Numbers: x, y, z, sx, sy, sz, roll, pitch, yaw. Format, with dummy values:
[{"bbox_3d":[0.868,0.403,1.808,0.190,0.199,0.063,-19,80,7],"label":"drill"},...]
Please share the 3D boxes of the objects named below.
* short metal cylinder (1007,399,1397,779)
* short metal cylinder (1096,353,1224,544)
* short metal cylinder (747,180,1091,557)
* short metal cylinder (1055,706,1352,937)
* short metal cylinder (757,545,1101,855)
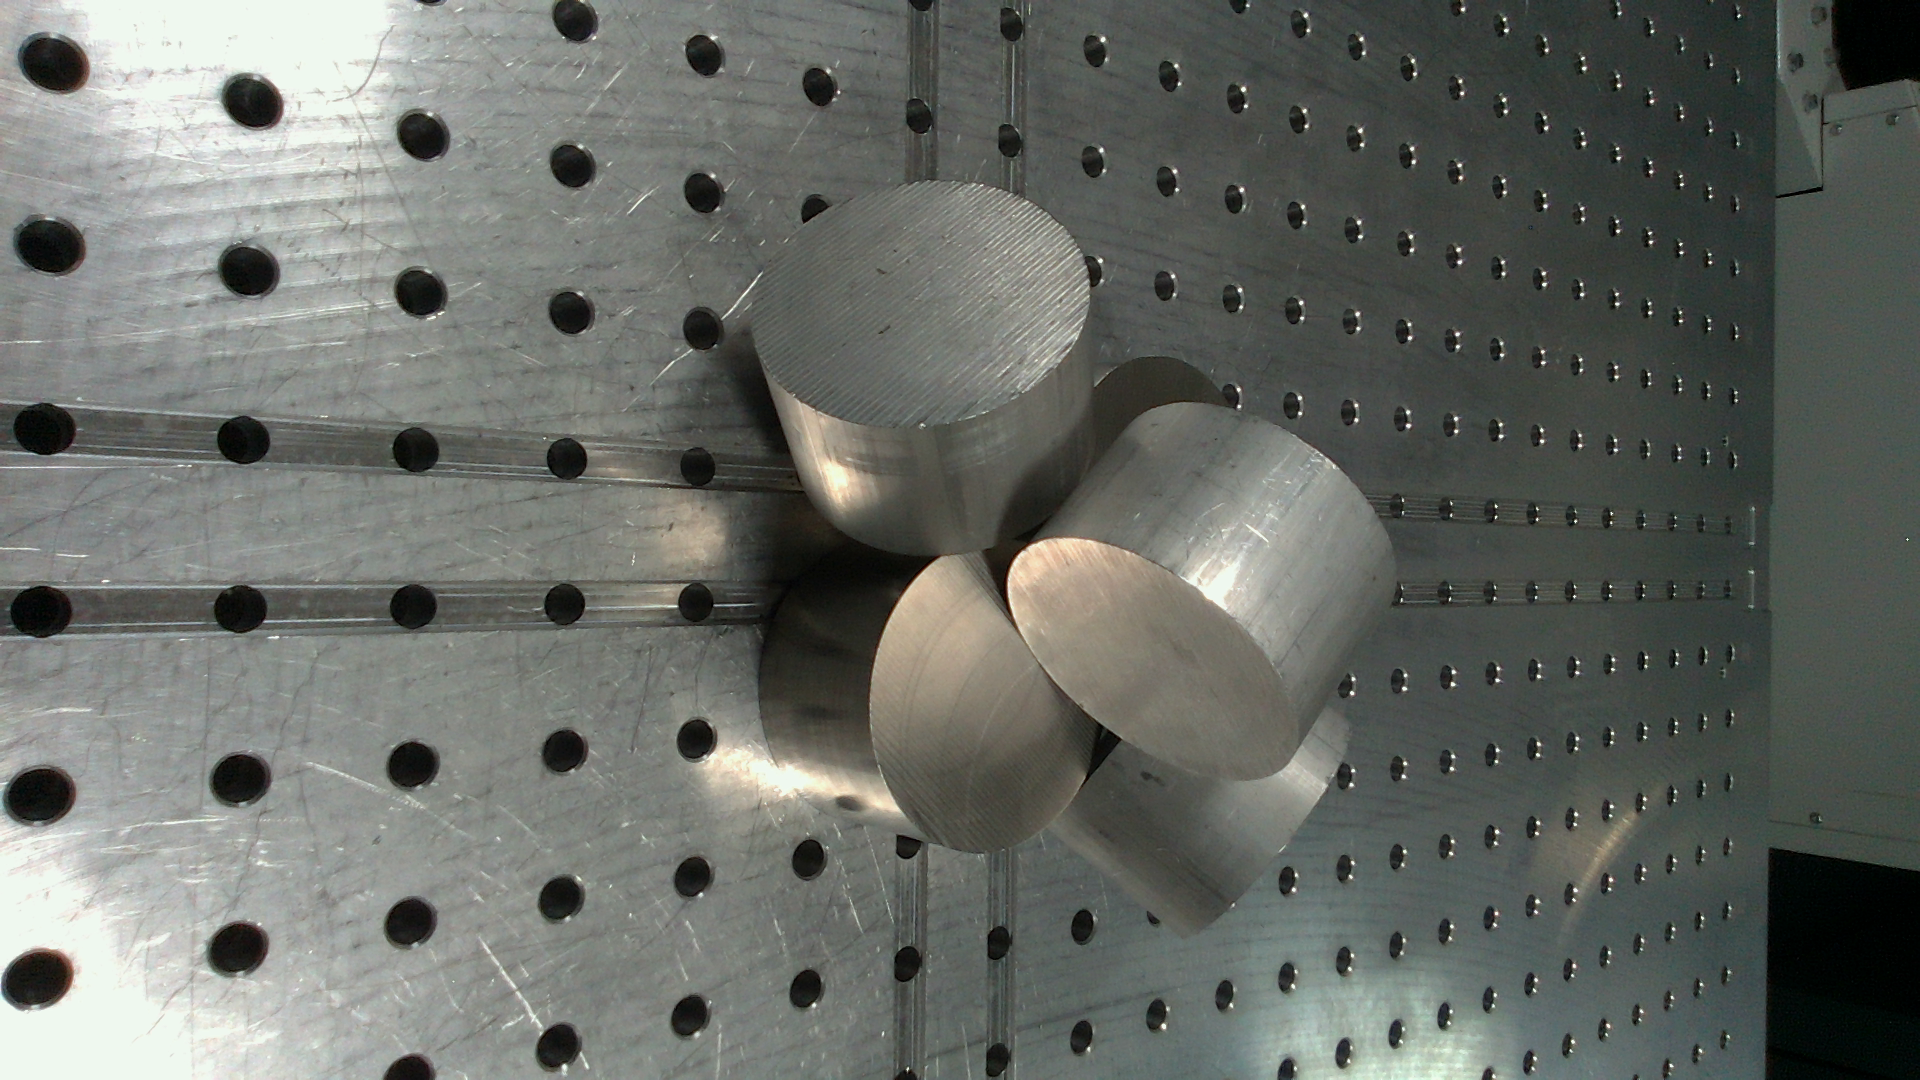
[{"bbox_3d":[0.059,0.013,0.338,0.050,0.080,0.080,-49,119,-29],"label":"short metal cylinder"},{"bbox_3d":[0.041,-0.013,0.409,0.080,0.050,0.080,0,90,-40],"label":"short metal cylinder"},{"bbox_3d":[-0.007,-0.043,0.341,0.080,0.080,0.050,-54,155,-26],"label":"short metal cylinder"},{"bbox_3d":[0.069,0.068,0.404,0.050,0.080,0.080,38,61,6],"label":"short metal cylinder"},{"bbox_3d":[-0.007,0.040,0.369,0.080,0.050,0.080,0,90,-40],"label":"short metal cylinder"}]
